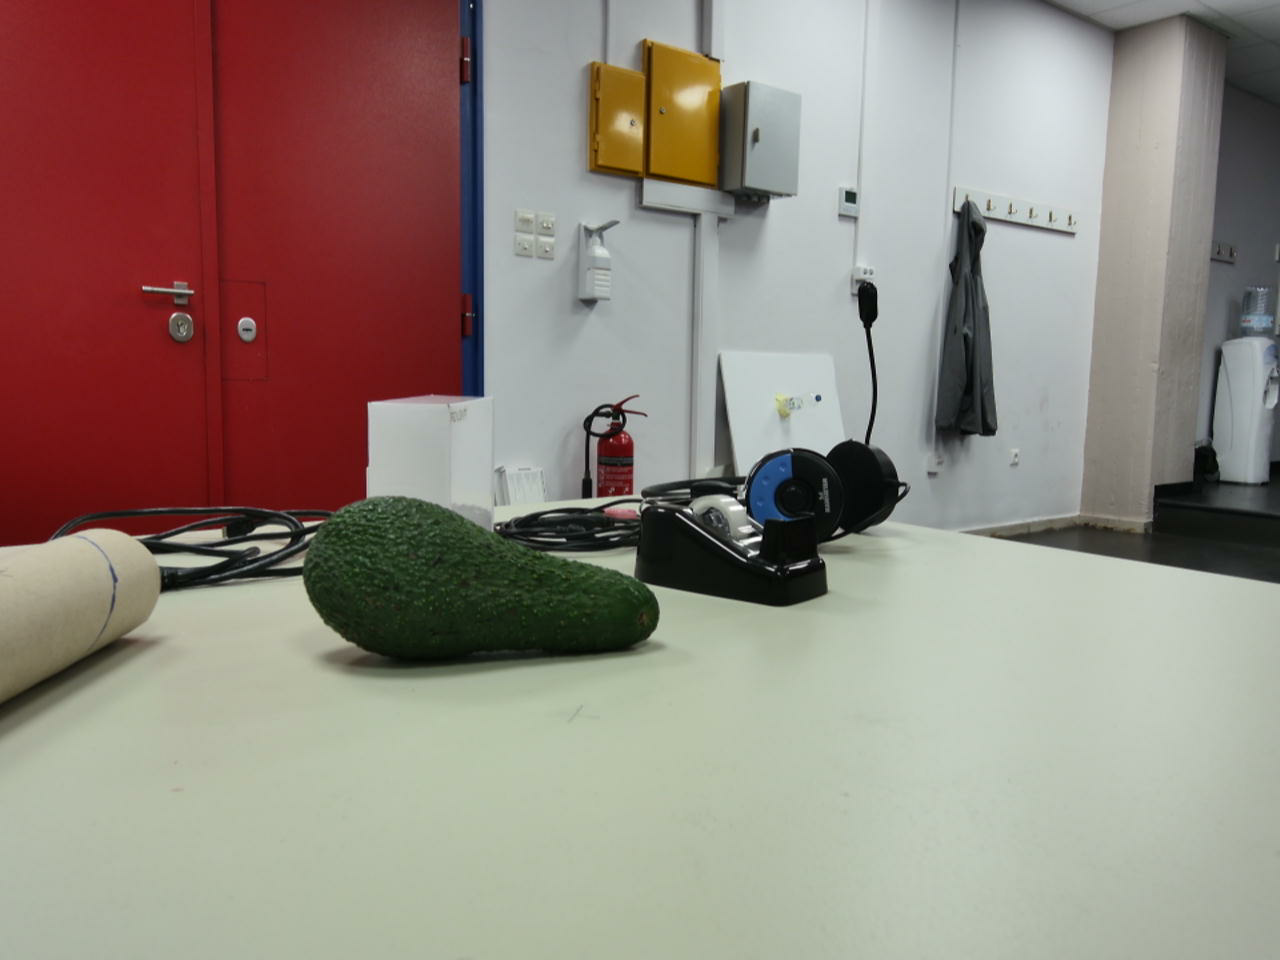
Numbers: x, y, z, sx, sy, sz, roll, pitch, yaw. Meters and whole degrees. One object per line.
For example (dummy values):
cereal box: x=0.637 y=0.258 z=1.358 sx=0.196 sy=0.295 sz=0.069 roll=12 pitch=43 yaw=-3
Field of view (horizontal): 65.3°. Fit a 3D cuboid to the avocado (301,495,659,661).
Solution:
avocado: x=-0.064 y=0.038 z=0.411 sx=0.141 sy=0.067 sz=0.063 roll=-2 pitch=4 yaw=-24
